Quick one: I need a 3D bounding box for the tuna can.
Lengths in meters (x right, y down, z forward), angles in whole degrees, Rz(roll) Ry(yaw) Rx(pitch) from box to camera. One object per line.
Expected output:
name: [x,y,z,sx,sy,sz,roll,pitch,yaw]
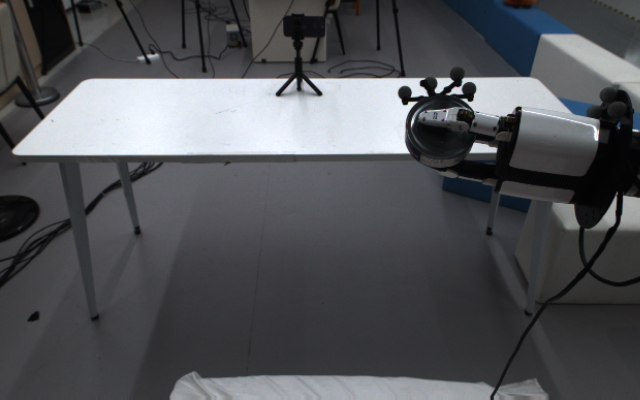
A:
tuna can: [0.148,-0.085,0.595,0.085,0.034,0.085,-2,69,6]
